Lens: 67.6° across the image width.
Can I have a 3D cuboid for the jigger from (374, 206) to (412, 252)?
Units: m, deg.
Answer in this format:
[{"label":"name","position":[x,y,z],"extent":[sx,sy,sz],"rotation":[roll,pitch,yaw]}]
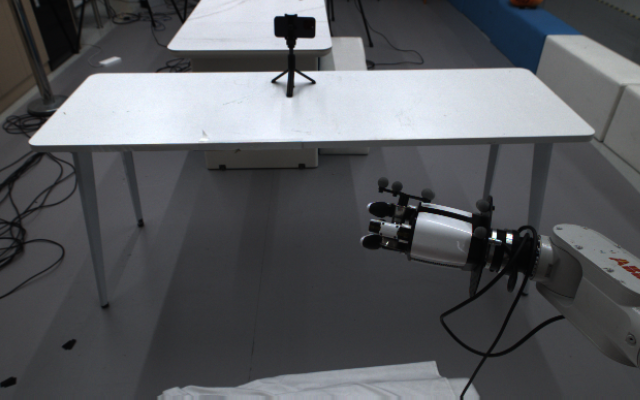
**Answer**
[{"label":"jigger","position":[0.125,0.041,0.770],"extent":[0.043,0.071,0.043],"rotation":[14,1,0]}]
